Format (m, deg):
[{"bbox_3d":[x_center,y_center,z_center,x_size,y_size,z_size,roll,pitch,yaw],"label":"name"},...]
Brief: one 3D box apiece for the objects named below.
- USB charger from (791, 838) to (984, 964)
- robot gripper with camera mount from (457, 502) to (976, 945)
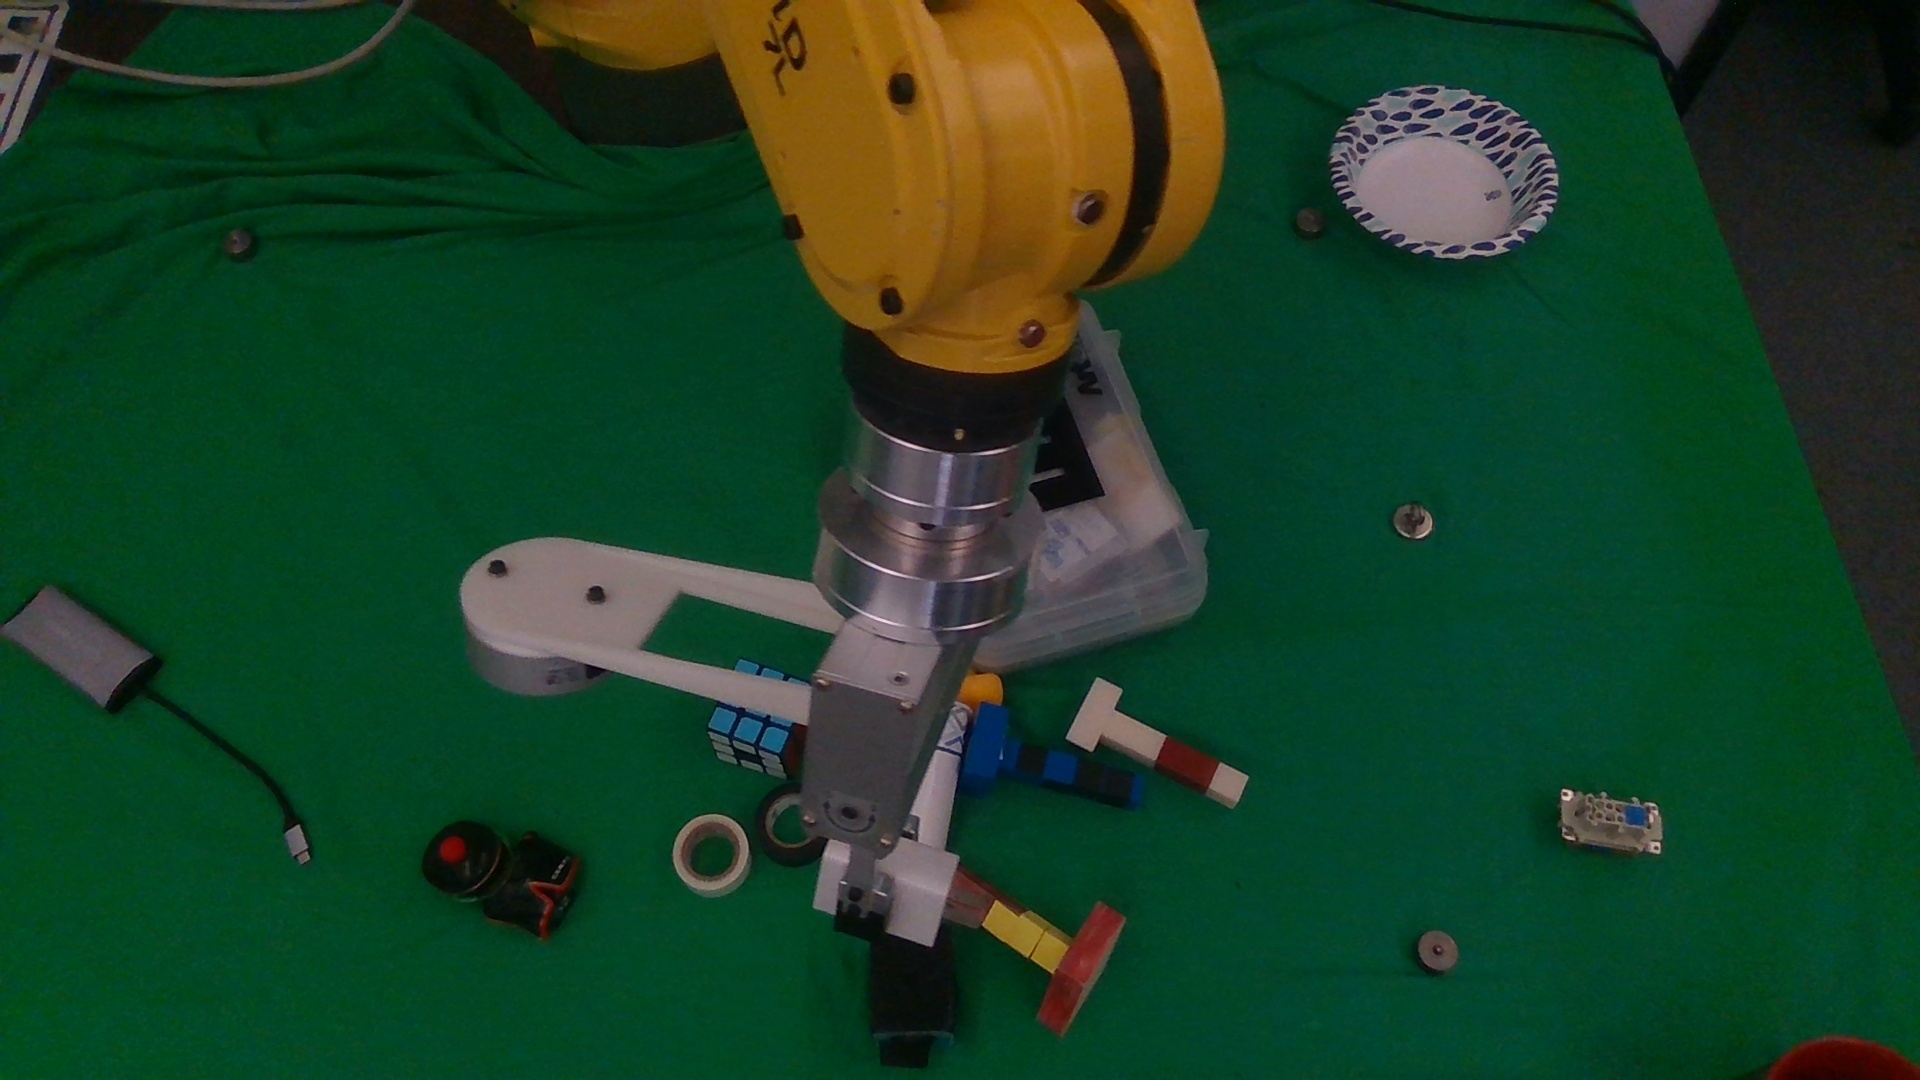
[{"bbox_3d":[-0.029,0.144,0.555,0.076,0.044,0.029,19,38,8],"label":"USB charger"},{"bbox_3d":[-0.107,0.067,0.538,0.194,0.158,0.119,13,37,15],"label":"robot gripper with camera mount"}]
